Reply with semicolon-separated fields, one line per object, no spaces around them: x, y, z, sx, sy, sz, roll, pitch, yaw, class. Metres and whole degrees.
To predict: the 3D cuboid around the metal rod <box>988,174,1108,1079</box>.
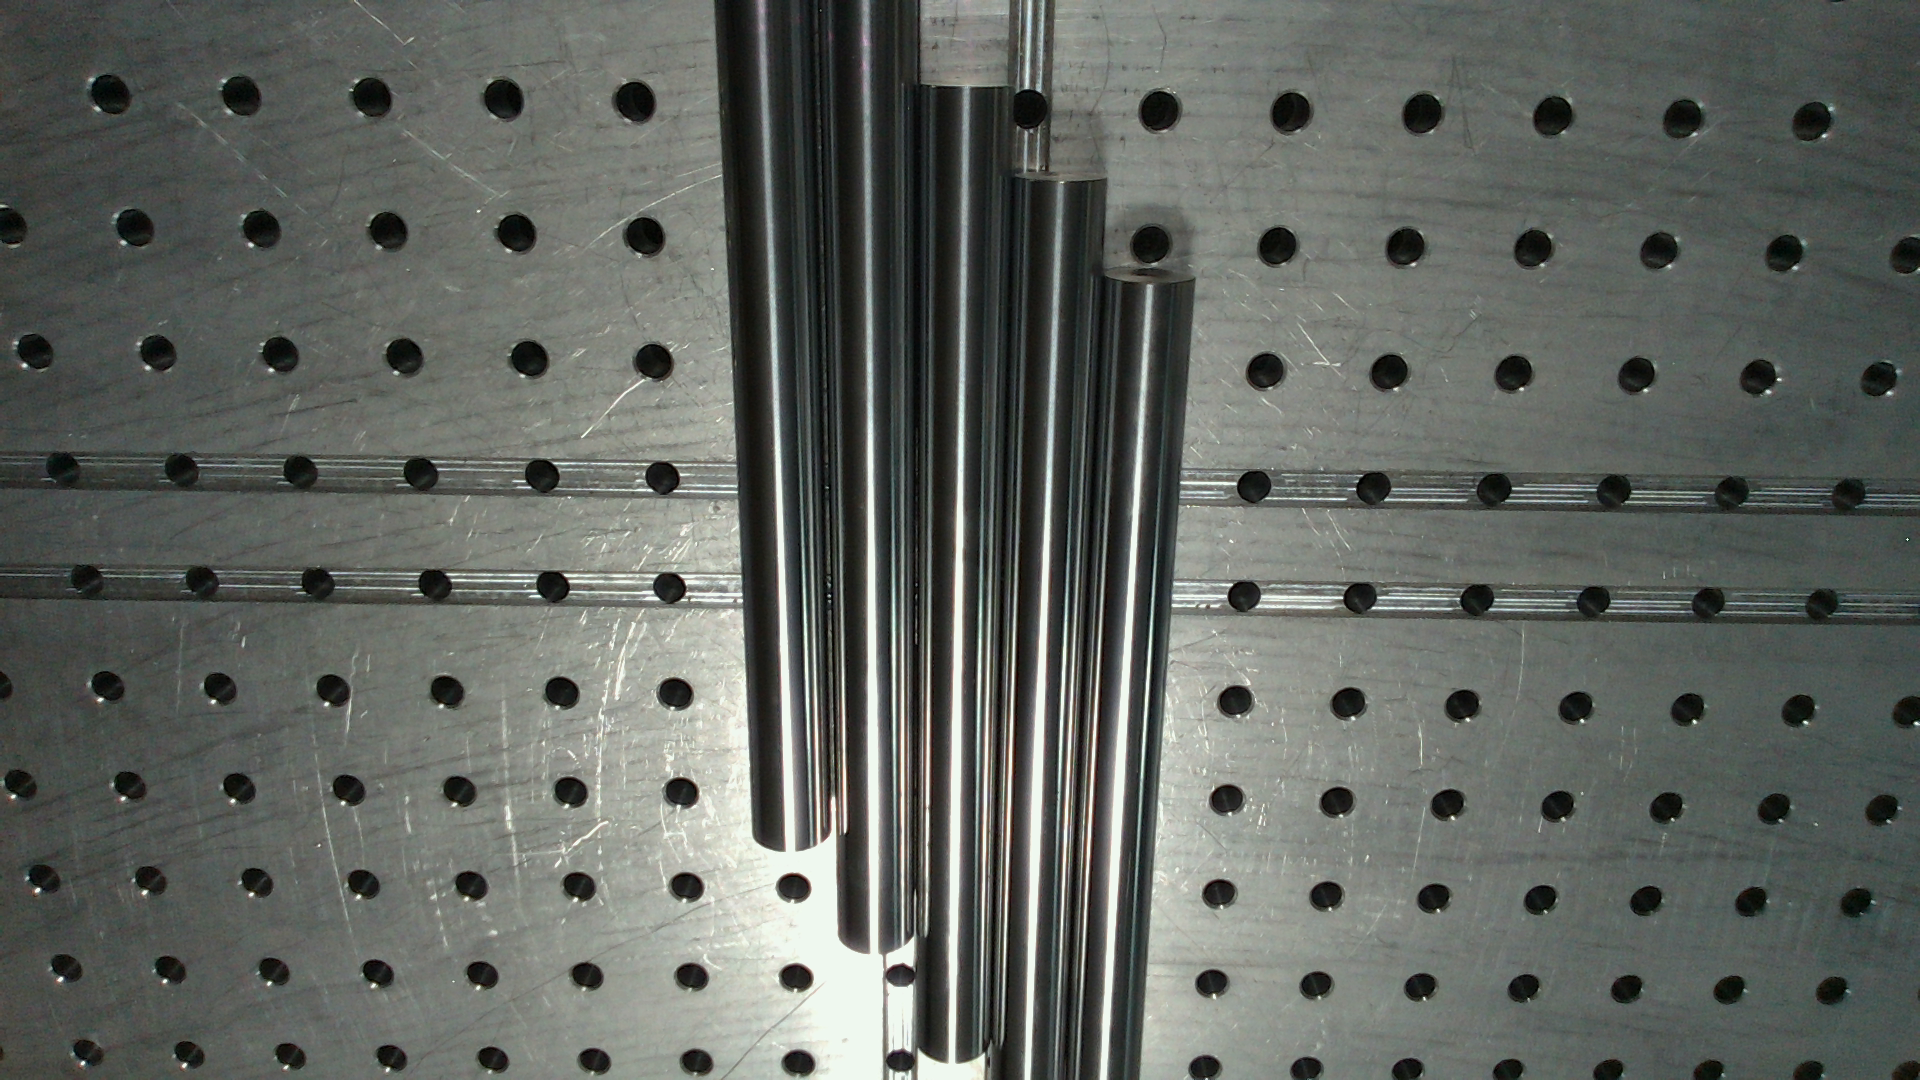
0.024;0.045;0.412;0.025;0.025;0.300;1;110;0;metal rod

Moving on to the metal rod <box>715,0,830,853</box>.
-0.050;-0.050;0.378;0.025;0.025;0.300;1;110;0;metal rod

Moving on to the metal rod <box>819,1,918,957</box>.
-0.025;-0.014;0.390;0.025;0.025;0.300;1;110;0;metal rod

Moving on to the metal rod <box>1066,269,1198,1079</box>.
0.049;0.069;0.421;0.025;0.025;0.300;1;110;0;metal rod

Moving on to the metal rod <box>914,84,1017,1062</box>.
0.000;0.024;0.405;0.025;0.025;0.300;1;110;0;metal rod
